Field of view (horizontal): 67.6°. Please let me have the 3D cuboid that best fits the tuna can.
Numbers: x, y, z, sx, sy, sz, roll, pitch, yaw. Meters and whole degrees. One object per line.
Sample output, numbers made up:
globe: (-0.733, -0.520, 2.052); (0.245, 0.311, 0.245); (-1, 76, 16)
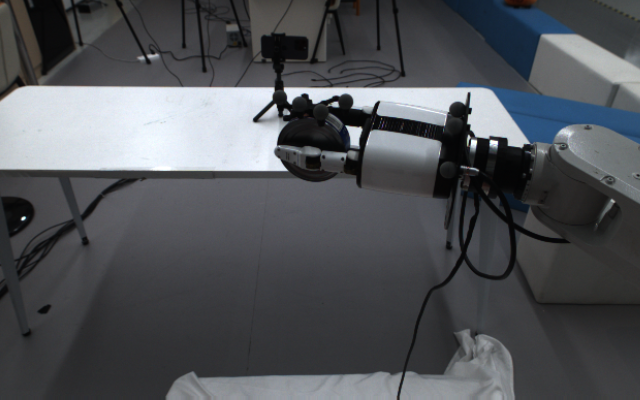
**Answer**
tuna can: (-0.006, -0.068, 0.593); (0.085, 0.085, 0.034); (10, 34, 12)
